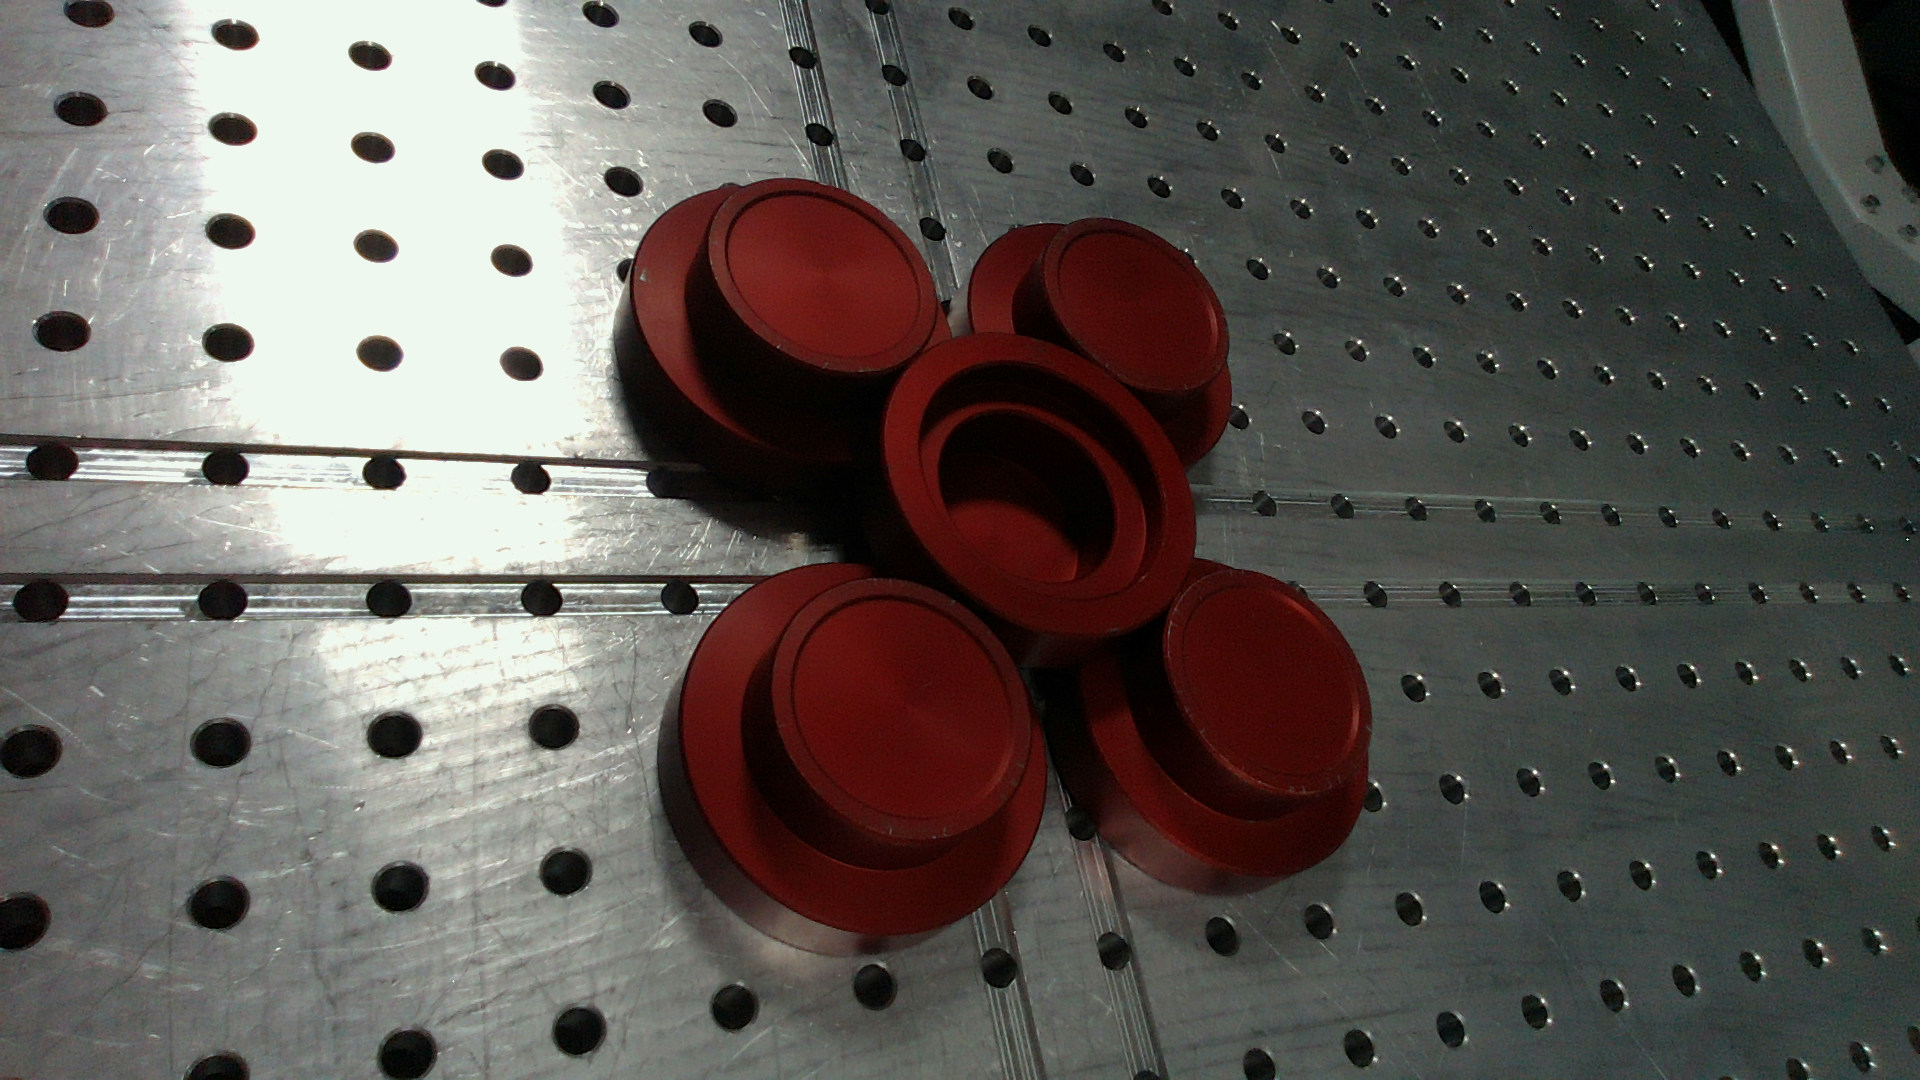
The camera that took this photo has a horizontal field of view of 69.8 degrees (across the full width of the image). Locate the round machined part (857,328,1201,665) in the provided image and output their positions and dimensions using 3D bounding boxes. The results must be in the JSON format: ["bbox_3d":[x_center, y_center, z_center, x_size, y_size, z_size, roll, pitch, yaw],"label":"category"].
[{"bbox_3d":[0.016,-0.009,0.394,0.098,0.042,0.098,14,56,-21],"label":"round machined part"}]

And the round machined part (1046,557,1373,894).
[{"bbox_3d":[0.078,0.047,0.394,0.098,0.042,0.098,14,56,-21],"label":"round machined part"}]

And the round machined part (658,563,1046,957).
[{"bbox_3d":[-0.022,0.049,0.341,0.098,0.042,0.098,14,56,-21],"label":"round machined part"}]

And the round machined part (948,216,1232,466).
[{"bbox_3d":[0.047,-0.065,0.446,0.098,0.042,0.098,14,56,-21],"label":"round machined part"}]

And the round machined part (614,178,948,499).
[{"bbox_3d":[-0.046,-0.064,0.396,0.098,0.042,0.098,14,56,-21],"label":"round machined part"}]
